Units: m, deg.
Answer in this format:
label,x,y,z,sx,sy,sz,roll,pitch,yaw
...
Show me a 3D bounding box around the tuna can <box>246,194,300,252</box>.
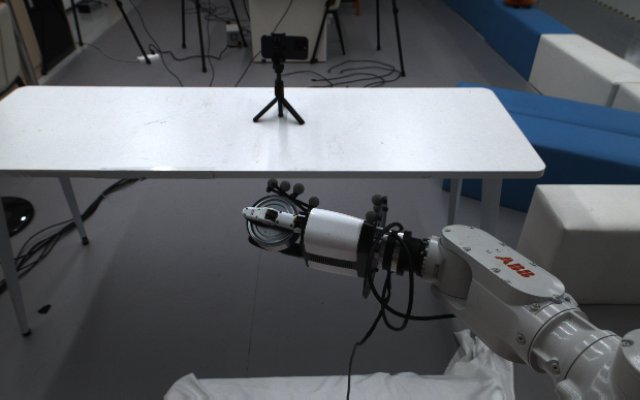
label,x,y,z,sx,sy,sz,roll,pitch,yaw
tuna can,-0.071,0.036,0.769,0.085,0.034,0.085,-4,67,10
